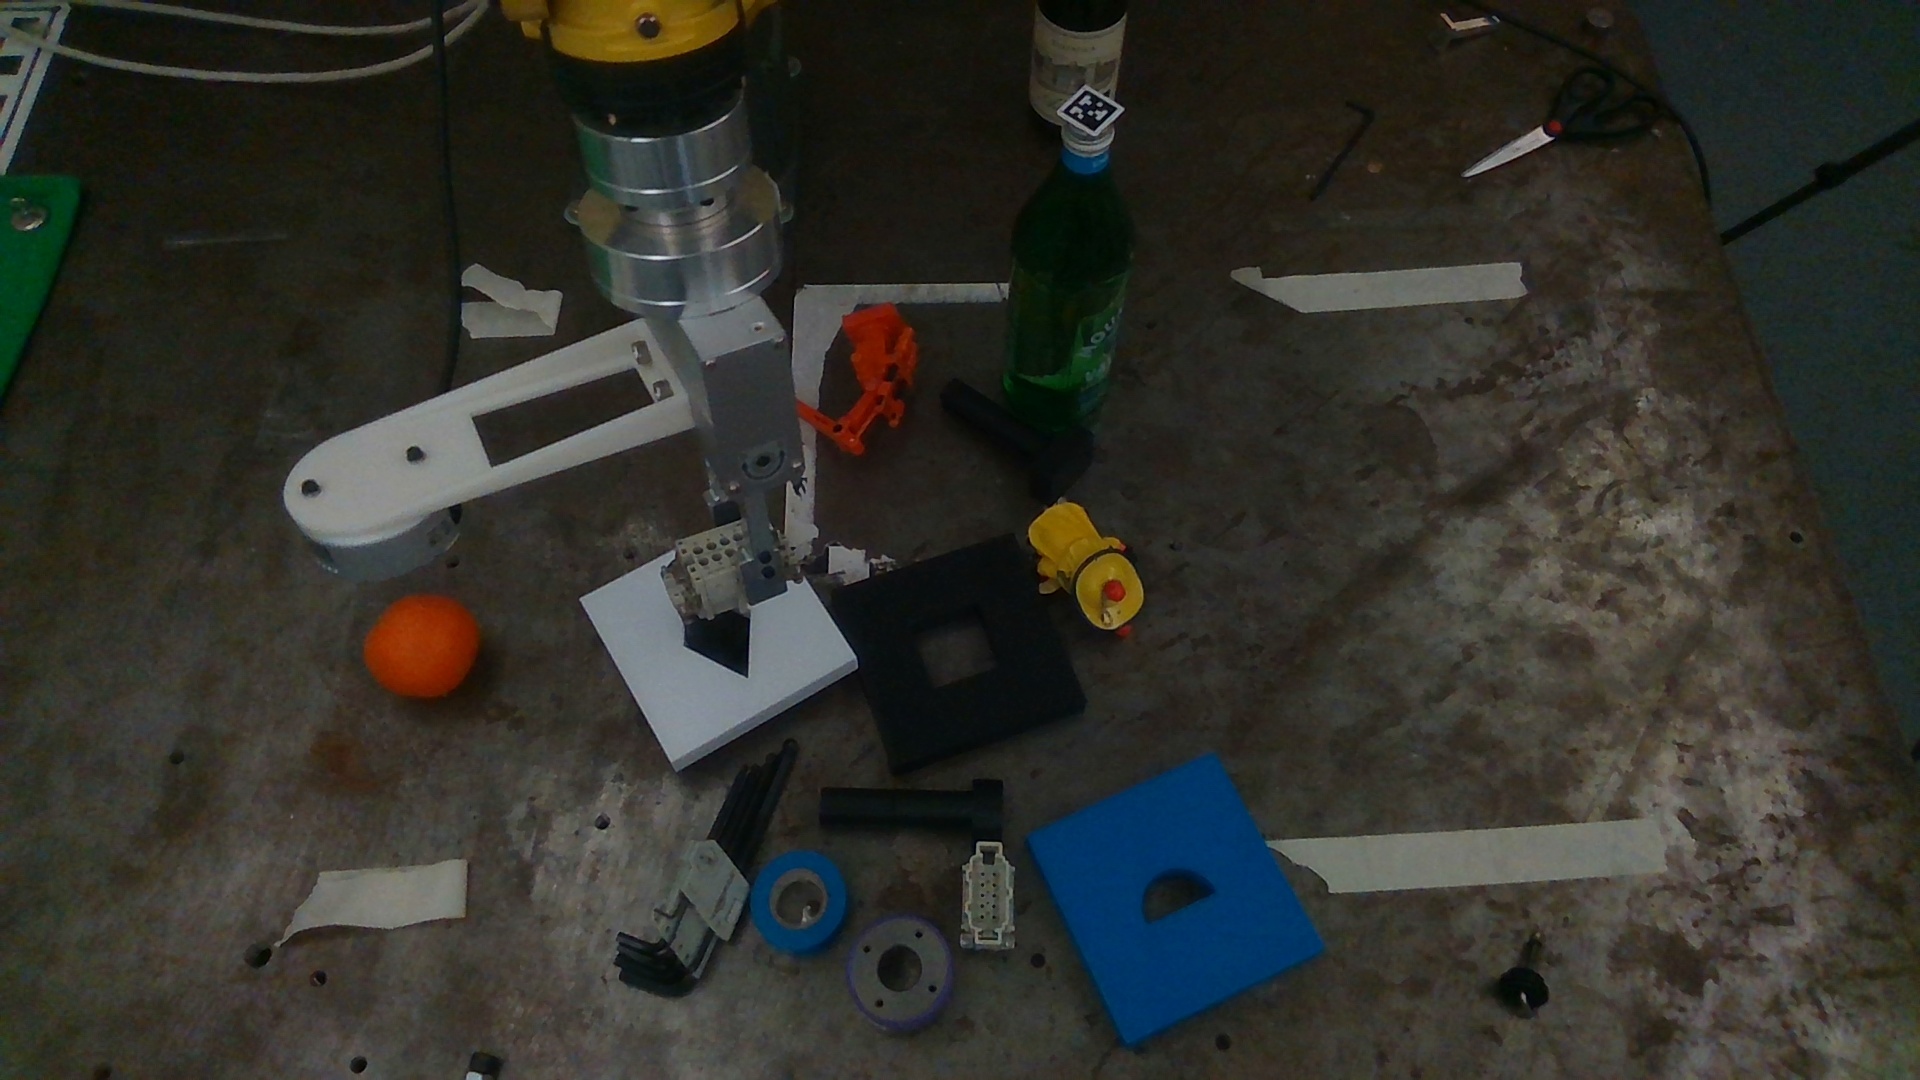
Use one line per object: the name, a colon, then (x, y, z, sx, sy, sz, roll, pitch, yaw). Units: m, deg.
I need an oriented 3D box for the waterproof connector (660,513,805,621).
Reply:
waterproof connector: (-0.114, 0.016, 0.696, 0.069, 0.038, 0.037, -17, 44, -24)
